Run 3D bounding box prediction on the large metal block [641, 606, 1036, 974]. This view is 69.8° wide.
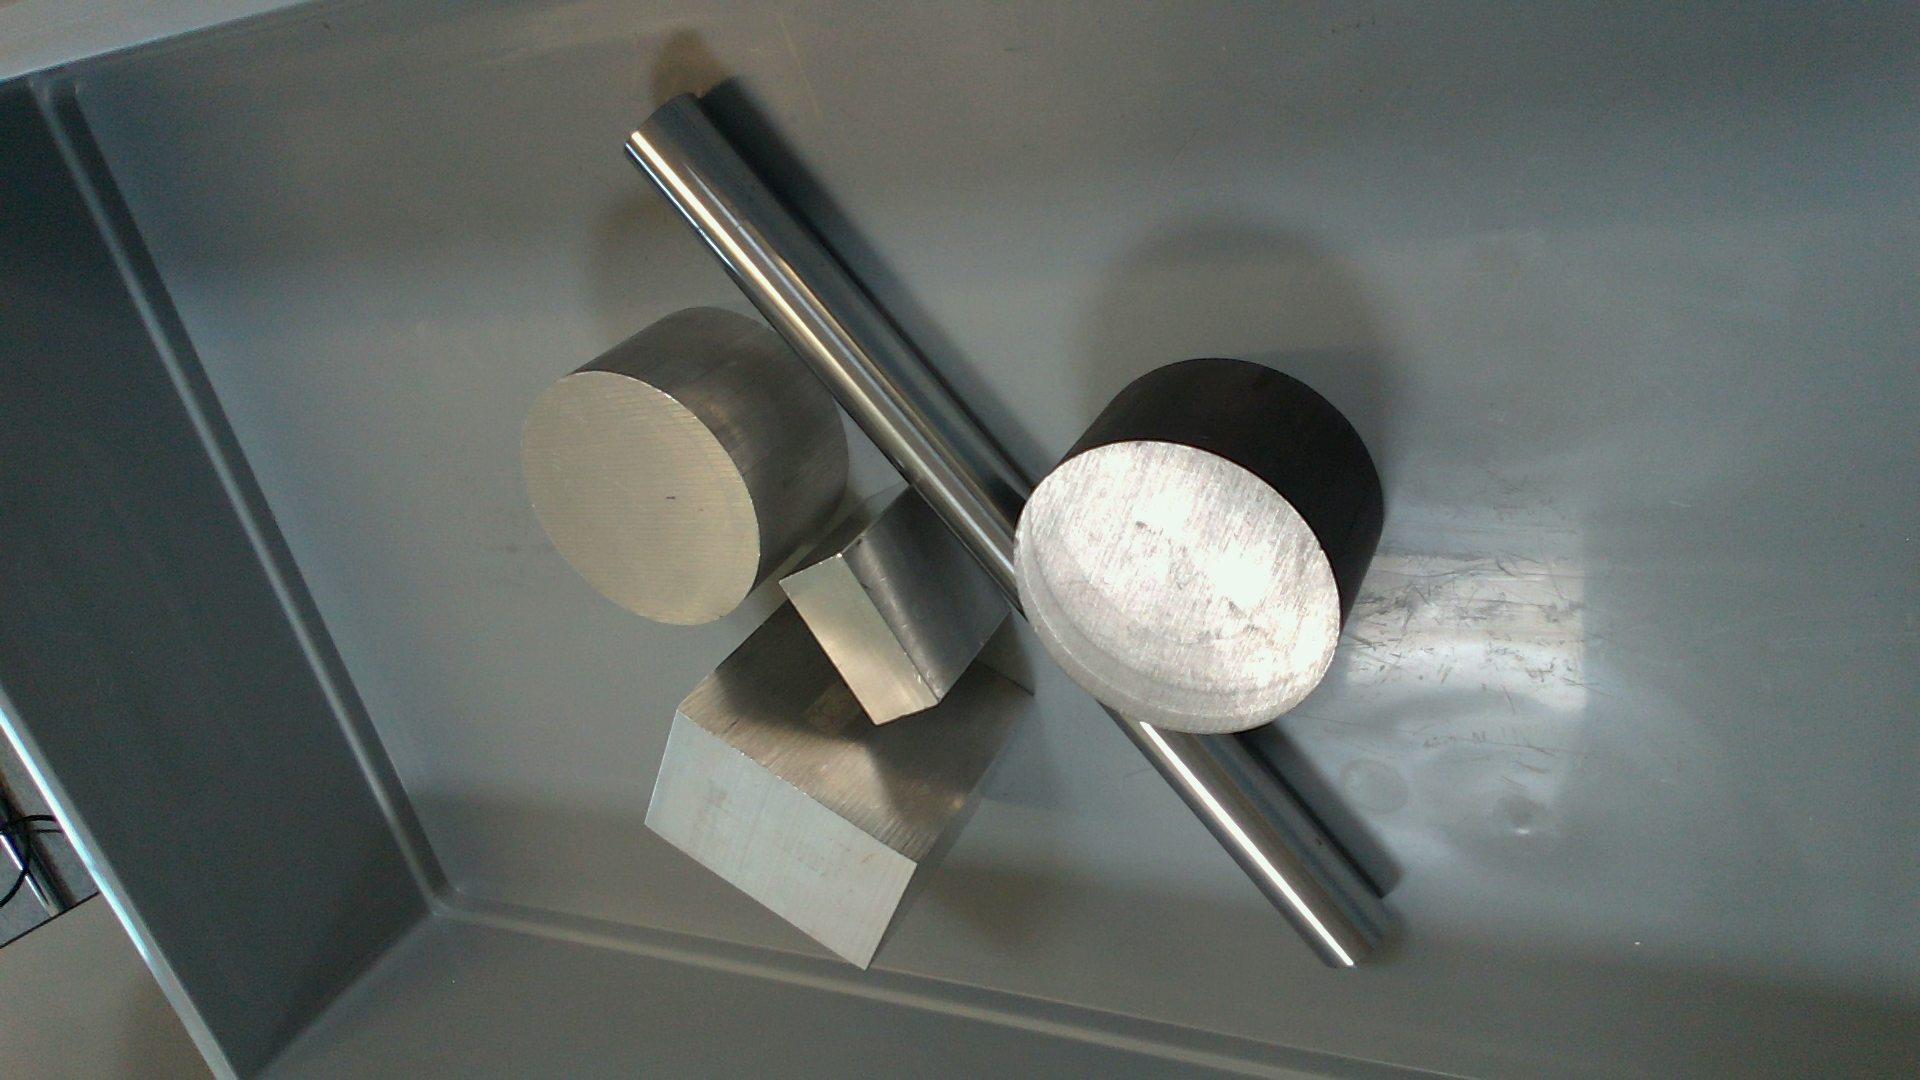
[{"bbox_3d":[-0.035,0.067,0.415,0.080,0.080,0.050,30,129,9],"label":"large metal block"}]

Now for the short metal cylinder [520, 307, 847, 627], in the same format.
[{"bbox_3d":[-0.080,-0.022,0.405,0.080,0.050,0.080,13,124,21],"label":"short metal cylinder"}]

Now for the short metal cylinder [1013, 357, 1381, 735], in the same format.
[{"bbox_3d":[0.060,0.001,0.344,0.080,0.050,0.080,13,124,21],"label":"short metal cylinder"}]

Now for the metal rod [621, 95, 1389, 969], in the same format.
[{"bbox_3d":[0.017,0.003,0.384,0.300,0.025,0.025,49,129,-7],"label":"metal rod"}]

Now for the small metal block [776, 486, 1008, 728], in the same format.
[{"bbox_3d":[-0.017,0.017,0.394,0.025,0.050,0.050,-23,106,37],"label":"small metal block"}]
